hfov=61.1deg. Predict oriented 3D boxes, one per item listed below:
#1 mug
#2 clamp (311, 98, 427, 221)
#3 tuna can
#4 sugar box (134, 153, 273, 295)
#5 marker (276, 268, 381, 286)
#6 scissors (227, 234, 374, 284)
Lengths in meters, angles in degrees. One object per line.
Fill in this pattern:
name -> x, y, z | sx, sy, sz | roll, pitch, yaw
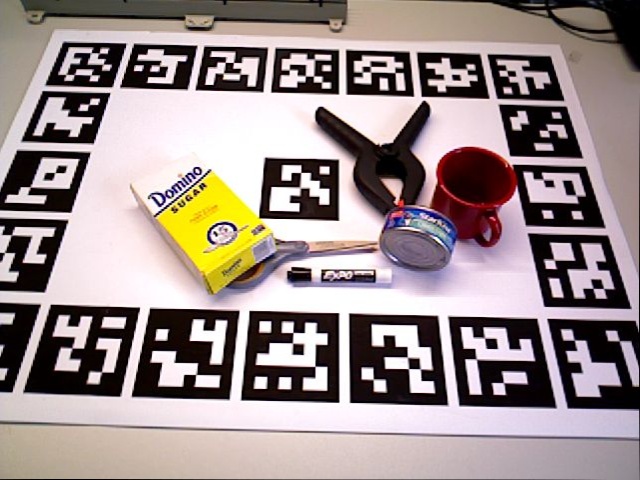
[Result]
mug -> 0.173, -0.040, 0.647 | 0.092, 0.083, 0.116 | -22, 58, -15
clamp -> 0.083, -0.104, 0.719 | 0.164, 0.037, 0.200 | -7, 60, -6
tuna can -> 0.113, 0.000, 0.616 | 0.085, 0.087, 0.033 | 17, 58, 8
sugar box -> -0.140, -0.027, 0.643 | 0.091, 0.046, 0.176 | -31, 58, -19
marker -> 0.010, 0.043, 0.626 | 0.120, 0.020, 0.019 | -1, 59, -1
scissors -> -0.035, 0.005, 0.645 | 0.201, 0.016, 0.086 | -6, 55, -7
